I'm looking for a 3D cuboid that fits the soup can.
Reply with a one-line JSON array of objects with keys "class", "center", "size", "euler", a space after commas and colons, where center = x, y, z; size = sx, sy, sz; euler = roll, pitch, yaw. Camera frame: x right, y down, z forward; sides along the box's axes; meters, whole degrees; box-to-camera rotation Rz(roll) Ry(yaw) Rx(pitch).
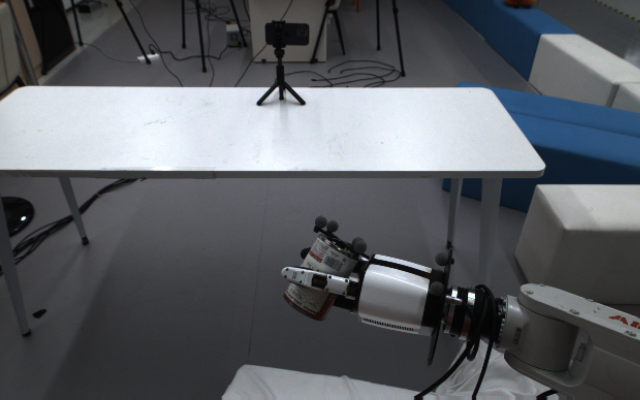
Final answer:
[{"class": "soup can", "center": [0.004, 0.107, 0.675], "size": [0.067, 0.101, 0.067], "euler": [30, 2, -1]}]
